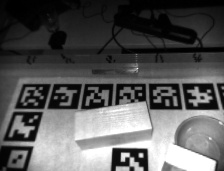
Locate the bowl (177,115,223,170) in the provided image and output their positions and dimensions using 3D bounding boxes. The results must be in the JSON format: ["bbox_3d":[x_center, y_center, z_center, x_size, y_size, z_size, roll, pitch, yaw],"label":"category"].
[{"bbox_3d":[0.258,0.154,0.584,0.161,0.055,0.161,-5,55,7],"label":"bowl"}]

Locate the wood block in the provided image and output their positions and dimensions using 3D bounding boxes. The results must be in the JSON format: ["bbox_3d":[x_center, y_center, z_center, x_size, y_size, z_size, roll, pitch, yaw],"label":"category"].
[{"bbox_3d":[0.002,0.113,0.620,0.206,0.090,0.090,-9,60,-1],"label":"wood block"}]

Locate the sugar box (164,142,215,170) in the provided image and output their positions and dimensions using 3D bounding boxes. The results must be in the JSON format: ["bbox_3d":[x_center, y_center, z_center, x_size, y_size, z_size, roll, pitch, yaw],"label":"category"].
[{"bbox_3d":[0.168,0.188,0.493,0.092,0.178,0.045,15,61,21],"label":"sugar box"}]
